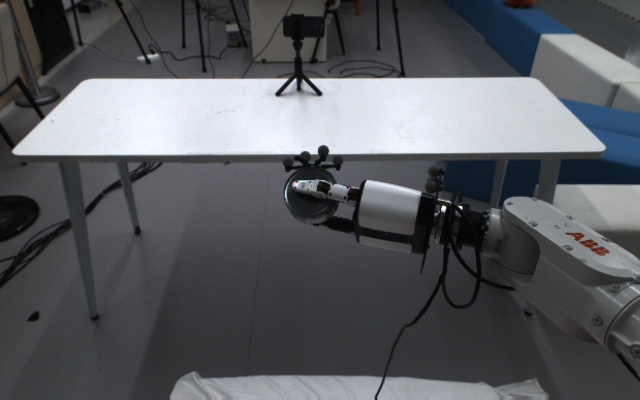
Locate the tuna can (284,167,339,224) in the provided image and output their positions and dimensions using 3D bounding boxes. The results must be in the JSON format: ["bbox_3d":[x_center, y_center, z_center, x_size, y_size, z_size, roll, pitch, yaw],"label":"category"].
[{"bbox_3d":[-0.011,-0.003,0.744,0.085,0.034,0.085,-2,69,6],"label":"tuna can"}]
